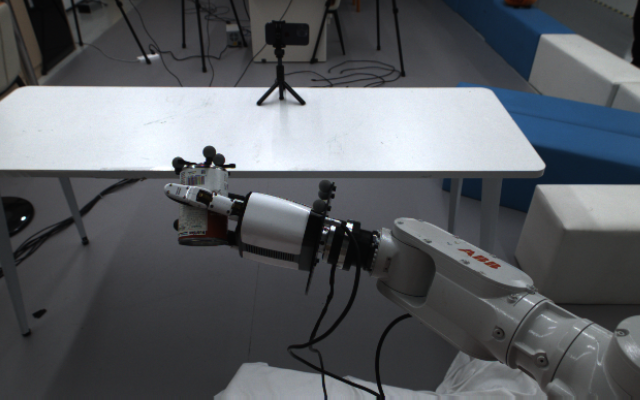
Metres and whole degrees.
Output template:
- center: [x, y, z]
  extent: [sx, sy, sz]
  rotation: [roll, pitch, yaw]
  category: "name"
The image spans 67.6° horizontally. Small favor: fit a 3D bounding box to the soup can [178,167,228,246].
- center: [-0.159, 0.010, 0.664]
  extent: [0.067, 0.067, 0.101]
  rotation: [-1, 77, -5]
  category: "soup can"
